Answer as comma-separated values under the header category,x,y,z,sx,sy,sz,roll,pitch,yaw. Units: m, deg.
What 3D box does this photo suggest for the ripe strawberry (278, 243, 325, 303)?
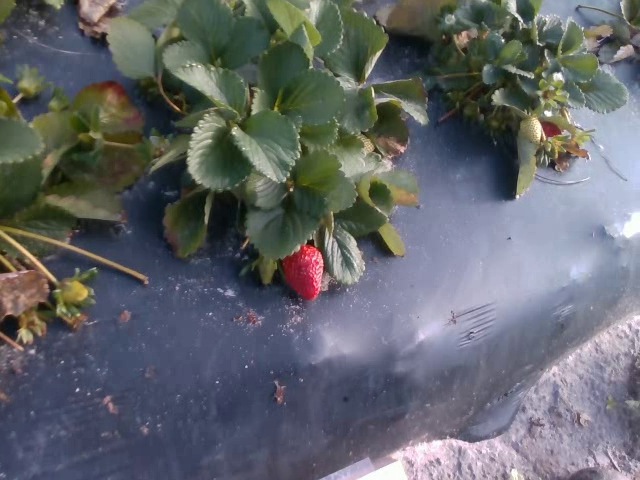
category,x,y,z,sx,sy,sz,roll,pitch,yaw
ripe strawberry,-0.007,0.021,0.336,0.029,0.036,0.021,-14,-14,-18
